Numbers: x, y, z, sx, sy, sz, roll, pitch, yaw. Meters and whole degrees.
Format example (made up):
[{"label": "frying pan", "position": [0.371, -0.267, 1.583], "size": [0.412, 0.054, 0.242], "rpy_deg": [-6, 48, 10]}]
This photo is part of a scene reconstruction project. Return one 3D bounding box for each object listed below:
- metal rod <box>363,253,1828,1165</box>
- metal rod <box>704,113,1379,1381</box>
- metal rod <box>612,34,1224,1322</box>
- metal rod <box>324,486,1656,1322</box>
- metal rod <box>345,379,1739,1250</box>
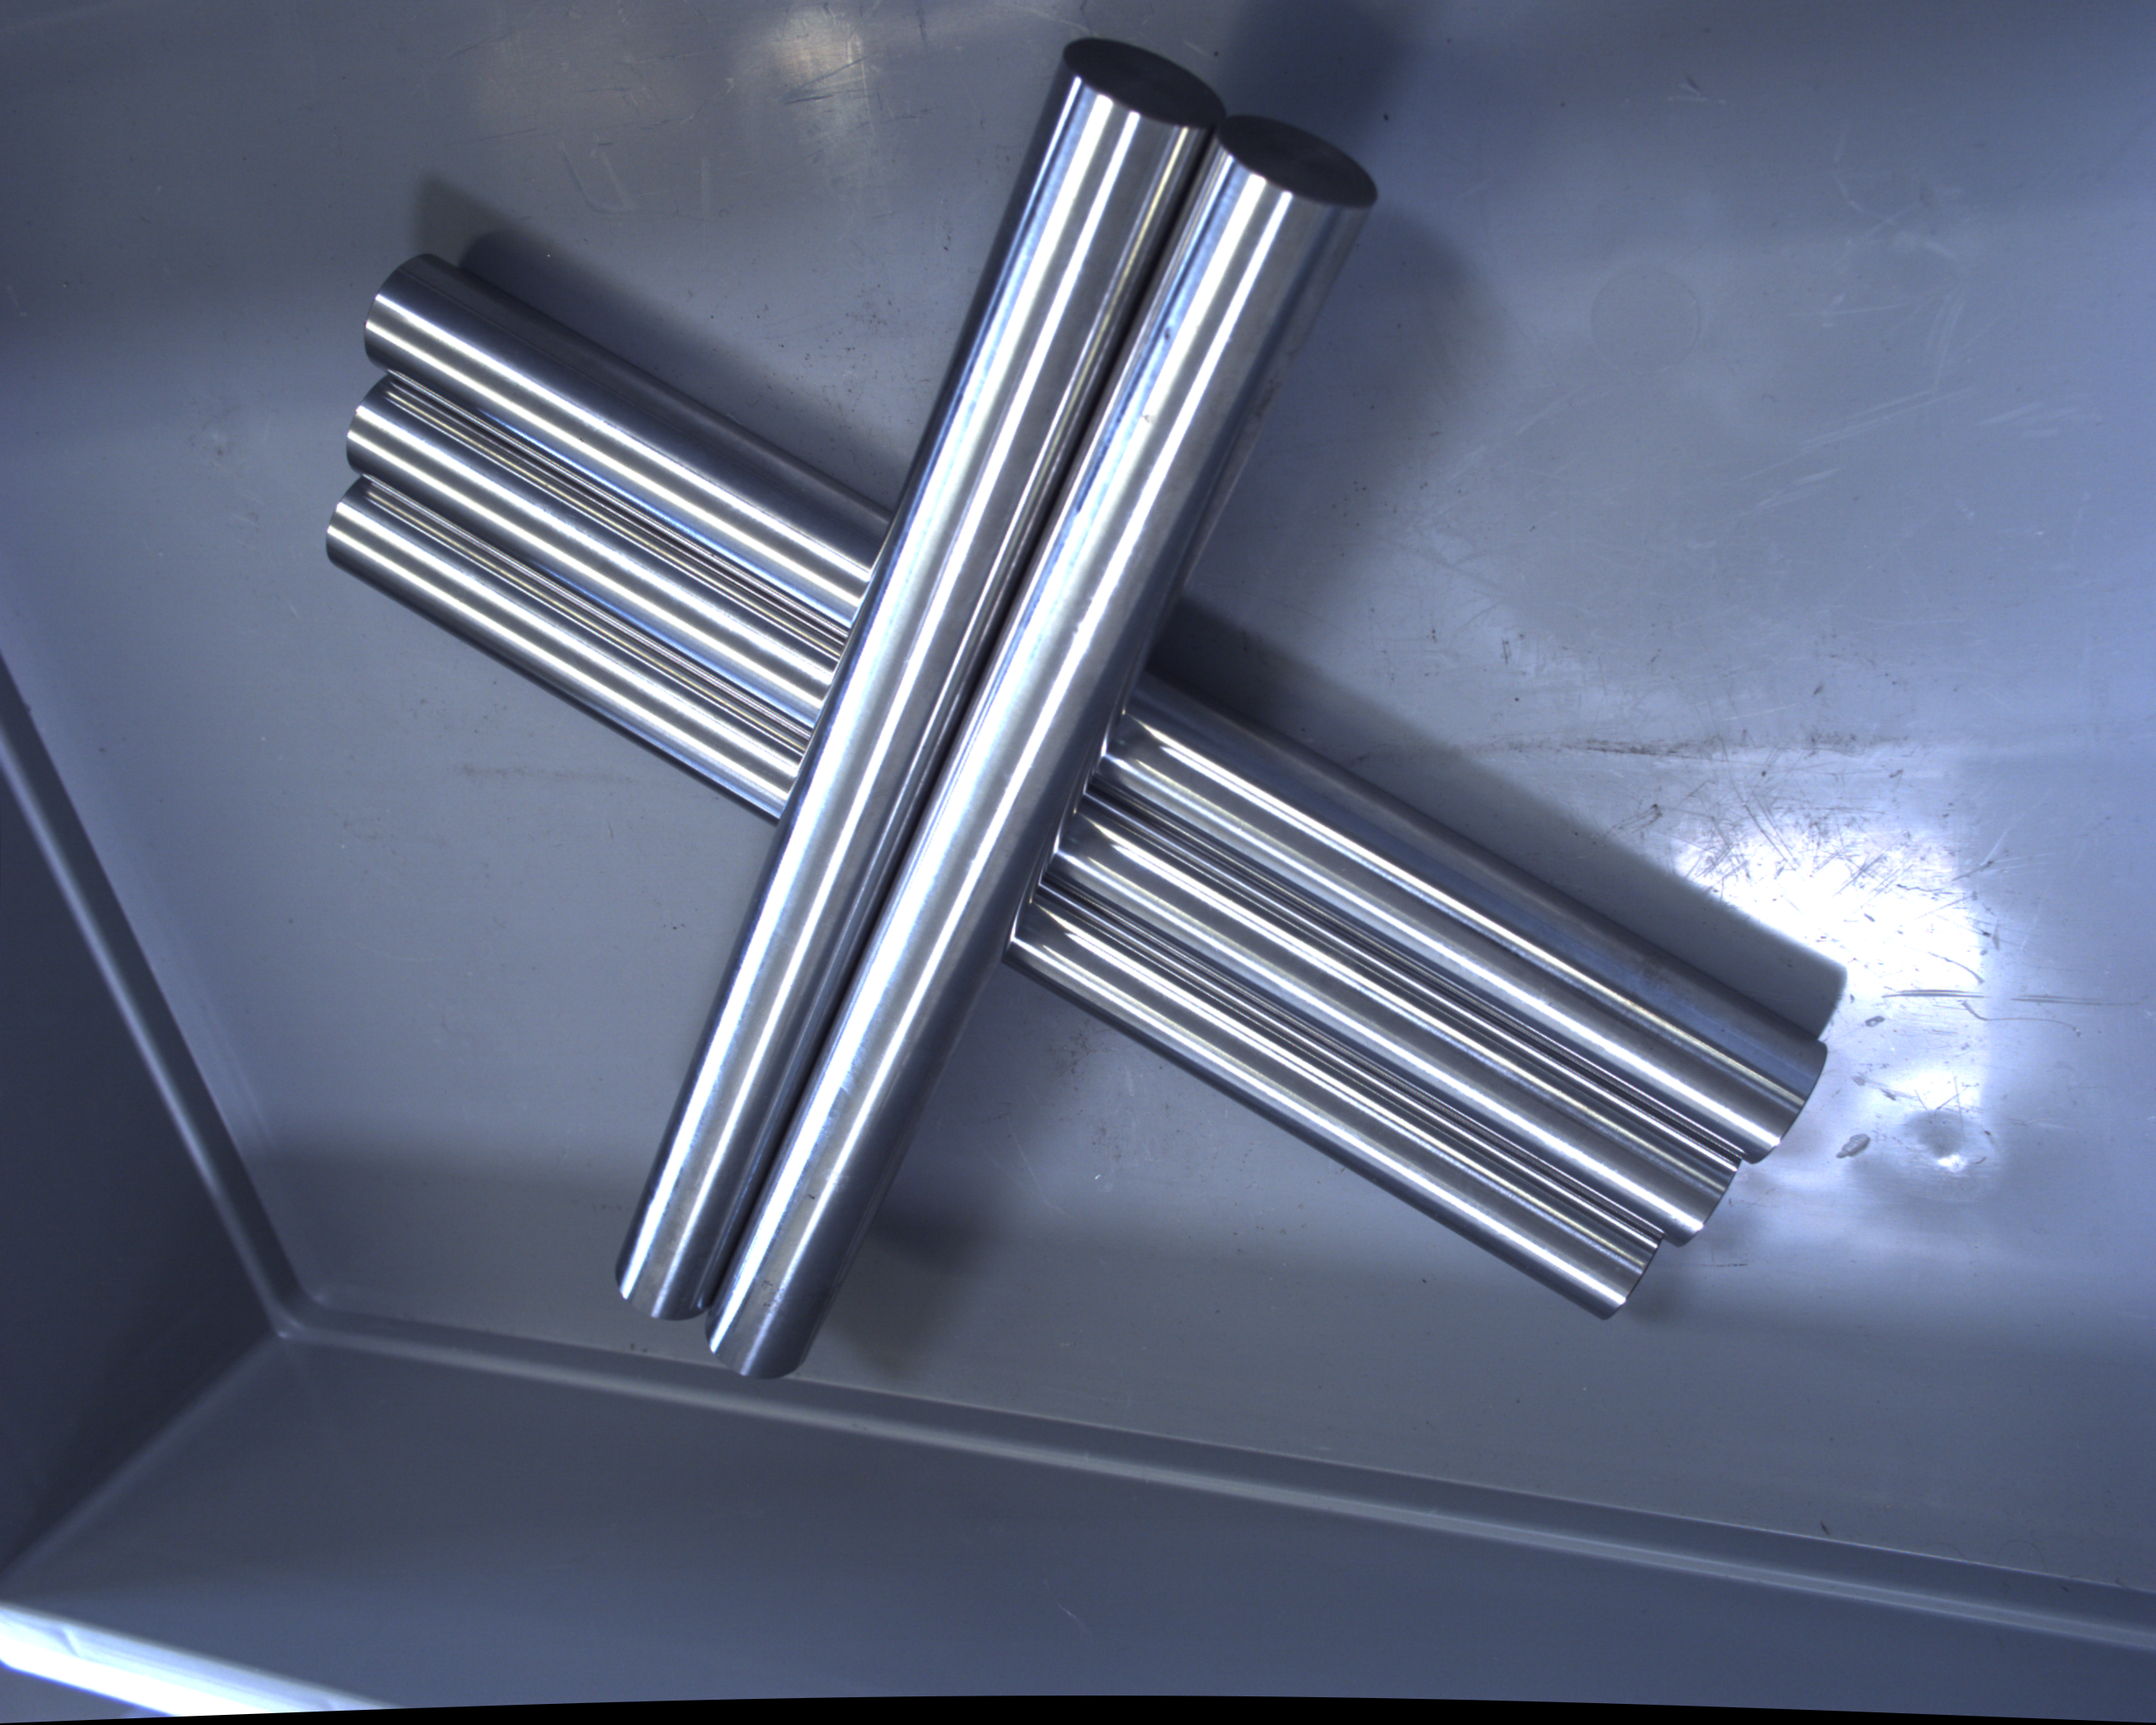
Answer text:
[{"label": "metal rod", "position": [-0.003, -0.033, 0.388], "size": [0.301, 0.025, 0.025], "rpy_deg": [30, 128, 8]}, {"label": "metal rod", "position": [-0.021, 0.004, 0.389], "size": [0.025, 0.025, 0.298], "rpy_deg": [32, 129, 7]}, {"label": "metal rod", "position": [-0.043, -0.008, 0.392], "size": [0.025, 0.025, 0.298], "rpy_deg": [32, 129, 7]}, {"label": "metal rod", "position": [-0.022, 0.002, 0.419], "size": [0.301, 0.025, 0.025], "rpy_deg": [30, 128, 8]}, {"label": "metal rod", "position": [-0.012, -0.015, 0.404], "size": [0.301, 0.025, 0.025], "rpy_deg": [30, 128, 8]}]
